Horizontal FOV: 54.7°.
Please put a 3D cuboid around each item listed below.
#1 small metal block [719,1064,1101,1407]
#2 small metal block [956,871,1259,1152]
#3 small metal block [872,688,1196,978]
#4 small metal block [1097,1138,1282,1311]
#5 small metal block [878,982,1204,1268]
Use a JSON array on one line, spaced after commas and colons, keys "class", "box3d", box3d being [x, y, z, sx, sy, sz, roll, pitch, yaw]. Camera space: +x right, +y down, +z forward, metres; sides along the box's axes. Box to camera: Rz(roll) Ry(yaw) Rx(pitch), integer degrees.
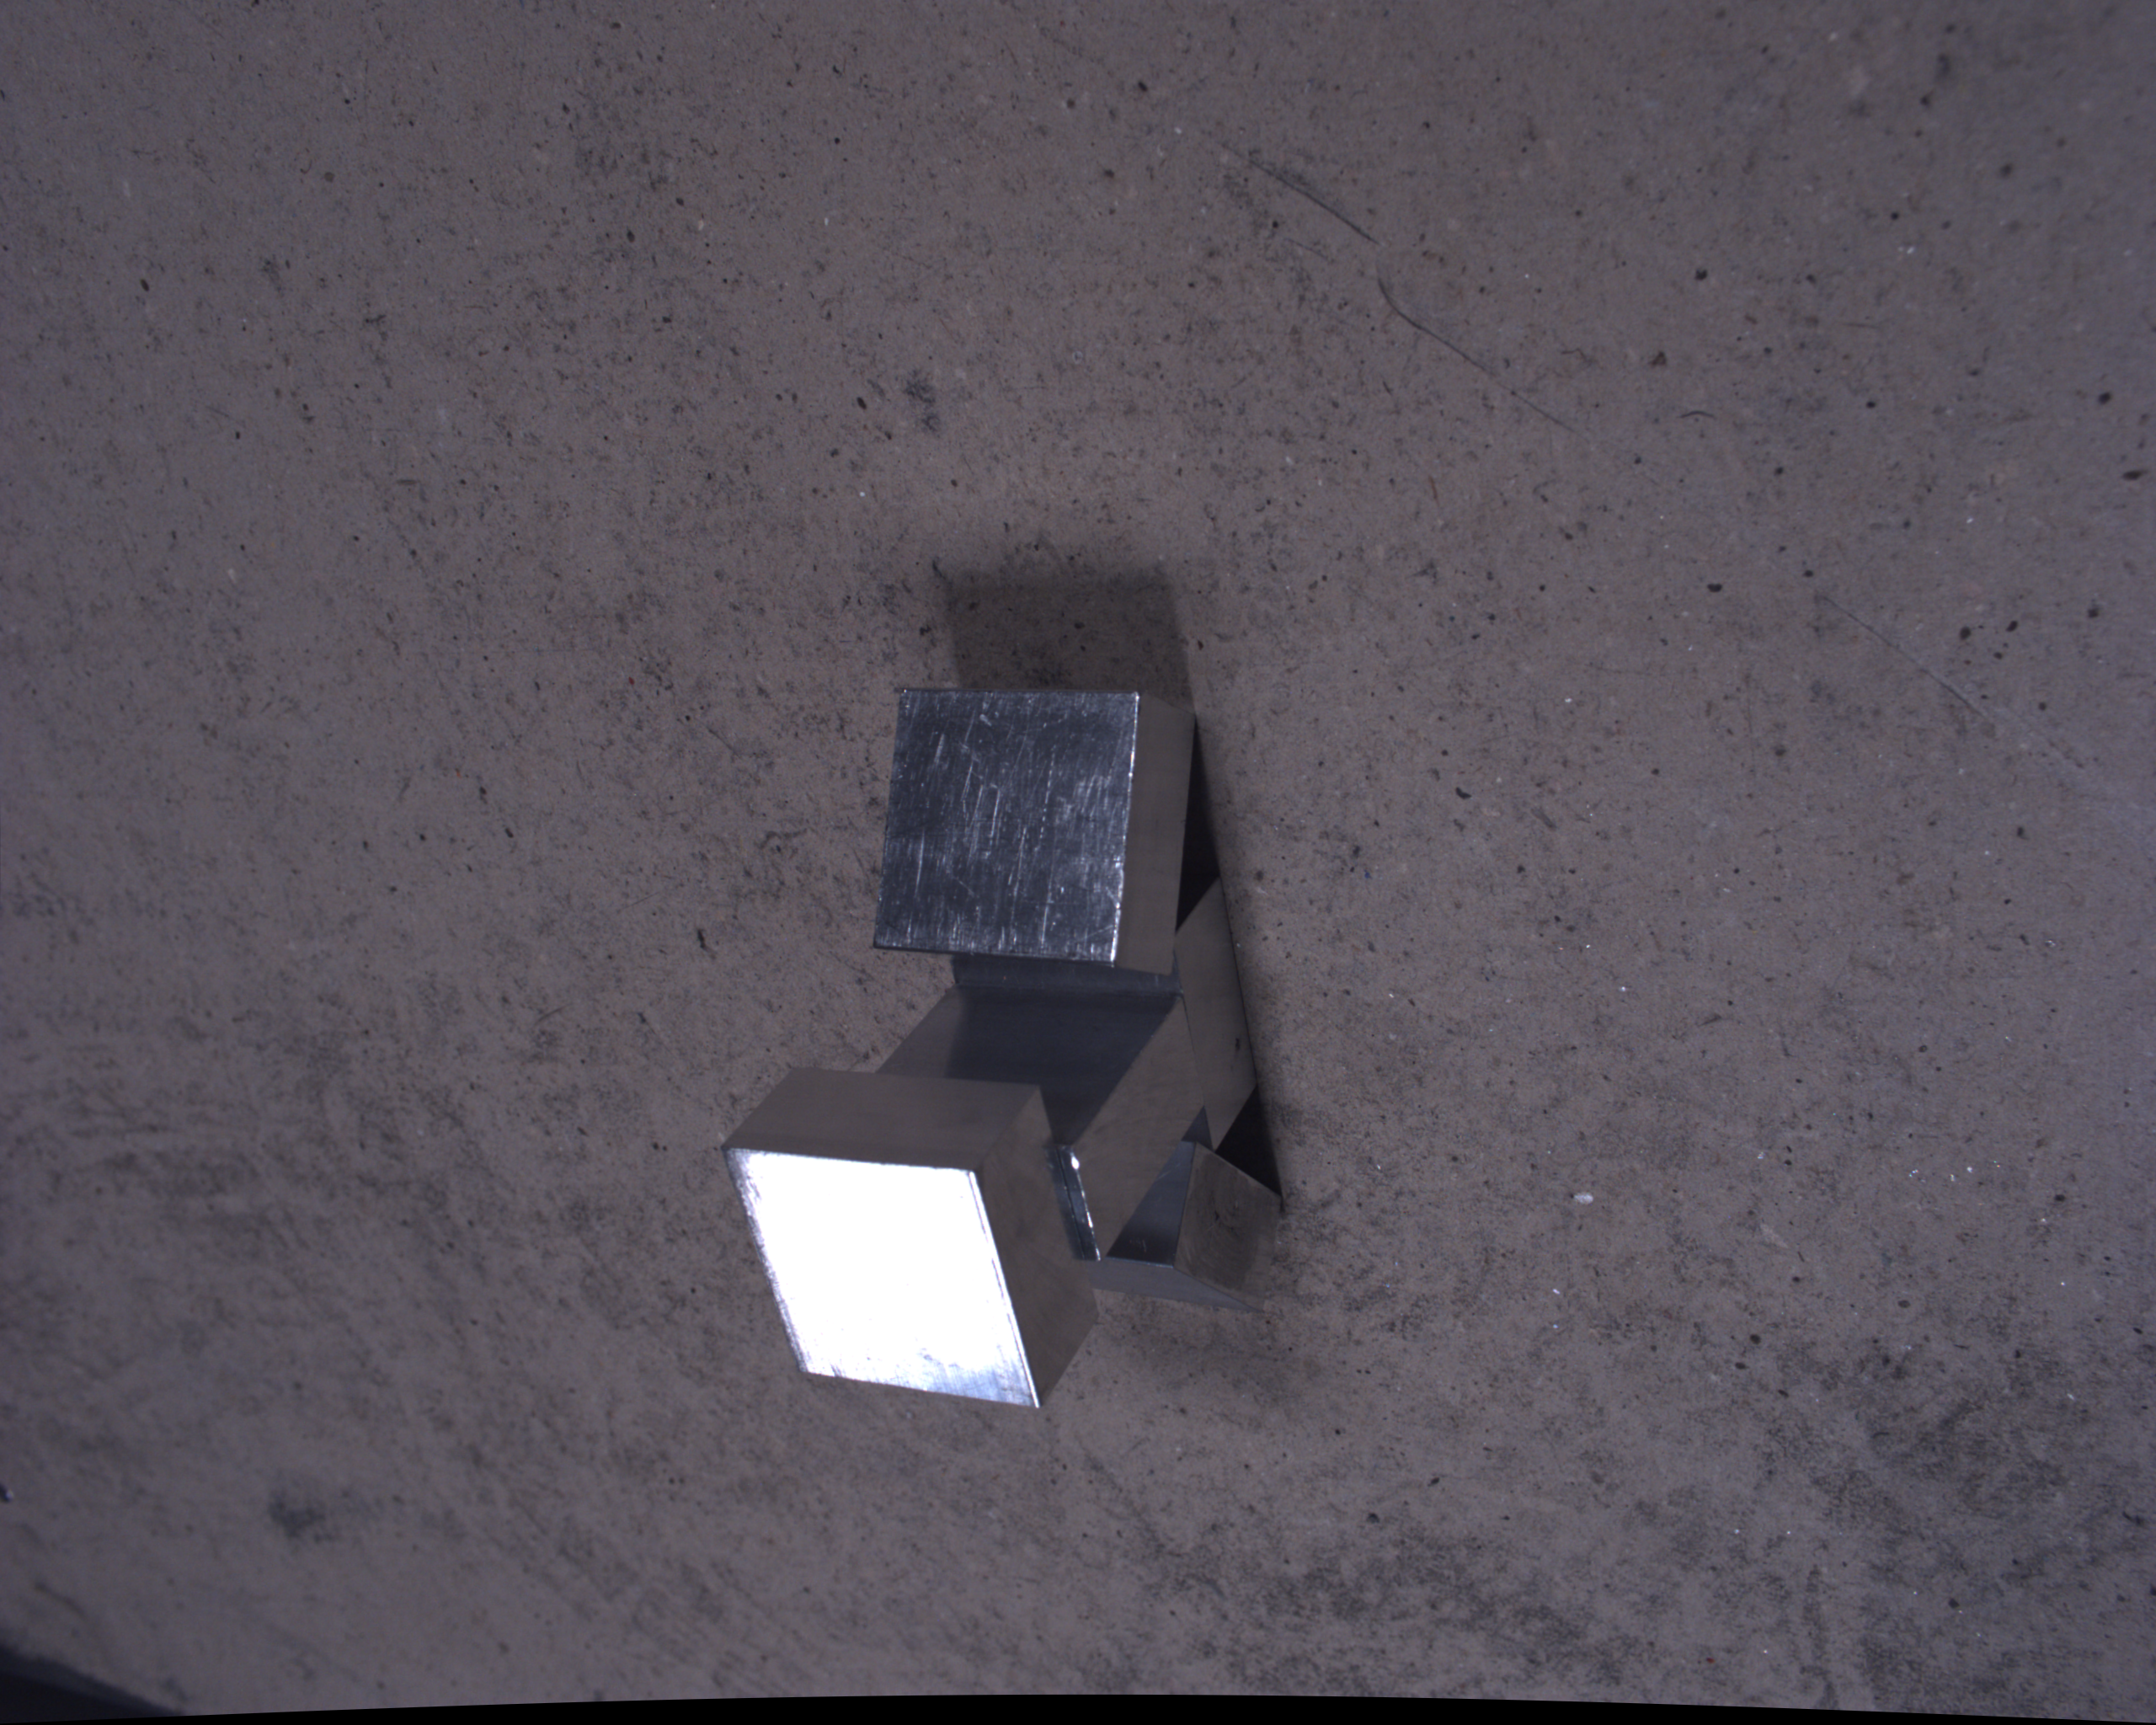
[{"class": "small metal block", "box3d": [-0.029, 0.064, 0.365, 0.050, 0.025, 0.050, 1, 119, 27]}, {"class": "small metal block", "box3d": [0.005, 0.029, 0.423, 0.050, 0.025, 0.050, 2, 120, 26]}, {"class": "small metal block", "box3d": [-0.008, -0.006, 0.392, 0.050, 0.025, 0.050, 3, 84, 27]}, {"class": "small metal block", "box3d": [0.008, 0.073, 0.431, 0.050, 0.025, 0.050, 2, 160, 27]}, {"class": "small metal block", "box3d": [-0.011, 0.048, 0.393, 0.050, 0.050, 0.025, 3, 120, 26]}]
